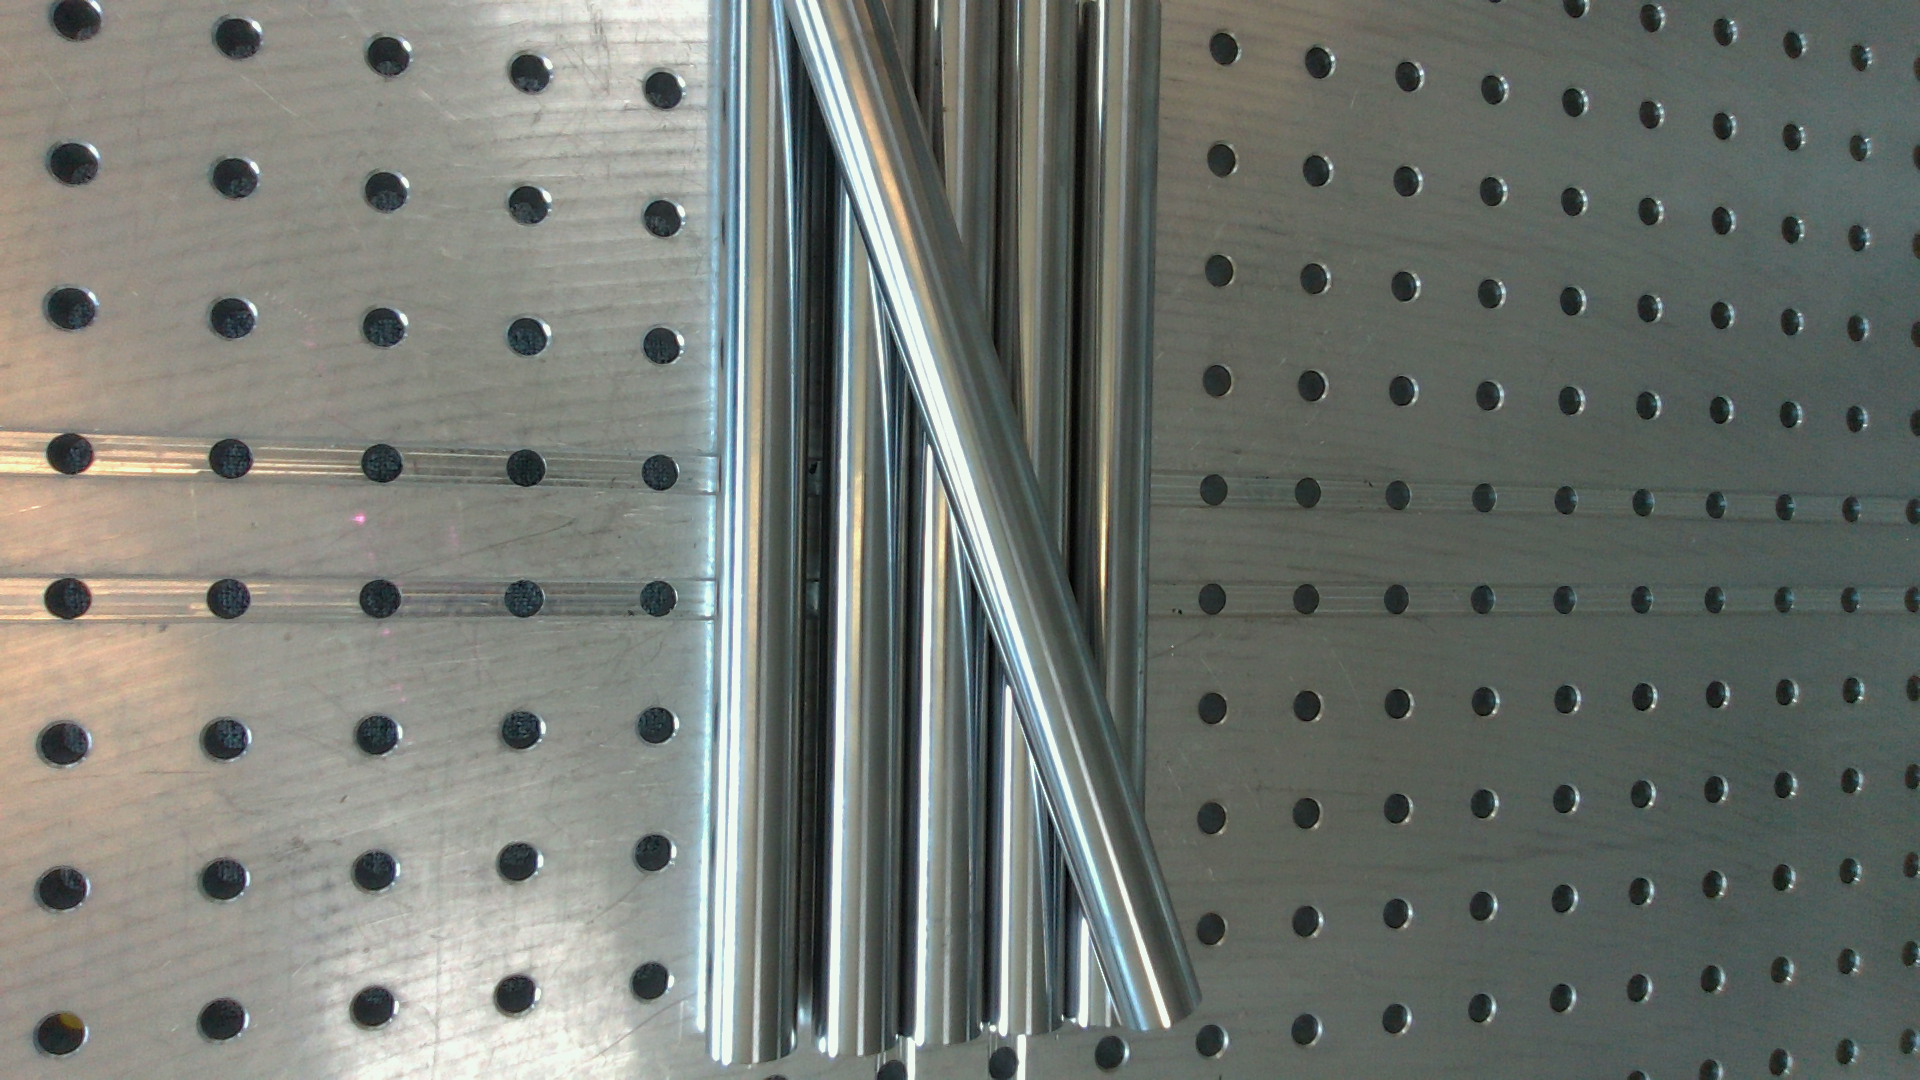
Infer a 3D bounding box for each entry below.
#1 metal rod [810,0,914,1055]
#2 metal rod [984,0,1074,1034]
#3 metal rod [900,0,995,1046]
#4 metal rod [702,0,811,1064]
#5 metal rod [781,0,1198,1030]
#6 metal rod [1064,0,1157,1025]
[{"bbox_3d":[-0.027,-0.011,0.385,0.025,0.025,0.300,1,90,-20],"label":"metal rod"},{"bbox_3d":[0.019,-0.010,0.403,0.025,0.025,0.300,1,90,-20],"label":"metal rod"},{"bbox_3d":[-0.005,-0.010,0.393,0.025,0.025,0.300,1,90,-20],"label":"metal rod"},{"bbox_3d":[-0.055,-0.012,0.375,0.025,0.025,0.300,1,90,-20],"label":"metal rod"},{"bbox_3d":[0.009,-0.010,0.372,0.025,0.025,0.300,-20,97,-19],"label":"metal rod"},{"bbox_3d":[0.044,-0.009,0.412,0.025,0.025,0.300,1,90,-20],"label":"metal rod"}]
